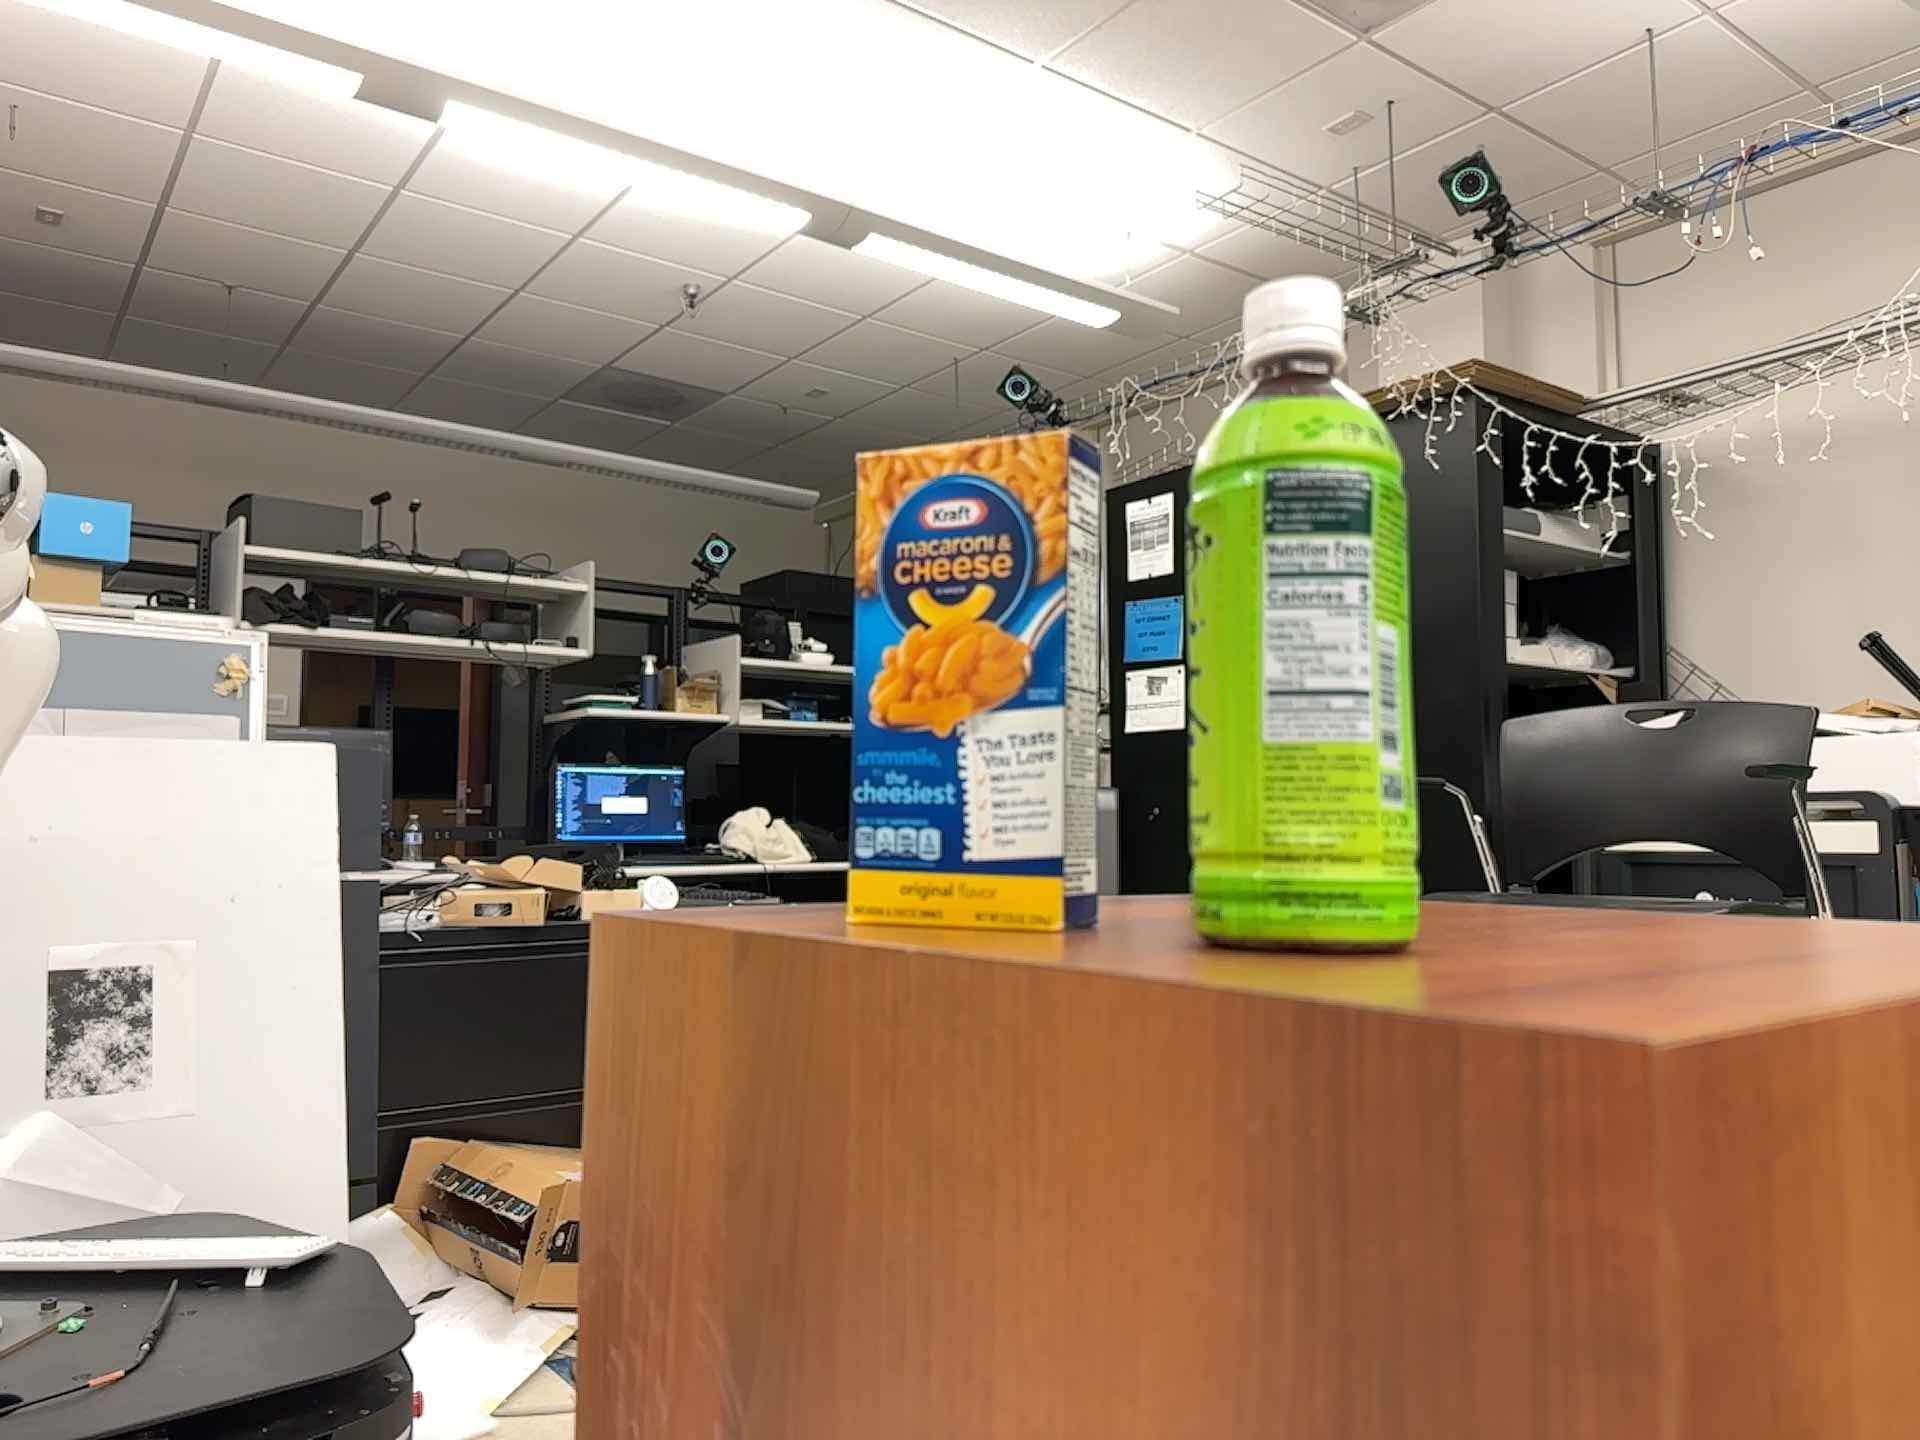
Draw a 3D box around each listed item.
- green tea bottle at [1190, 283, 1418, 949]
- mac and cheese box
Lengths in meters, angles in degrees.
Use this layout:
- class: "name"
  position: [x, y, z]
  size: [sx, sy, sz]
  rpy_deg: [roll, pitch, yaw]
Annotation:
- class: "green tea bottle"
  position: [0.110, -0.035, 0.433]
  size: [0.073, 0.212, 0.073]
  rpy_deg: [3, -7, 0]
- class: "mac and cheese box"
  position: [0.009, -0.008, 0.520]
  size: [0.088, 0.181, 0.035]
  rpy_deg: [-4, -9, 29]
